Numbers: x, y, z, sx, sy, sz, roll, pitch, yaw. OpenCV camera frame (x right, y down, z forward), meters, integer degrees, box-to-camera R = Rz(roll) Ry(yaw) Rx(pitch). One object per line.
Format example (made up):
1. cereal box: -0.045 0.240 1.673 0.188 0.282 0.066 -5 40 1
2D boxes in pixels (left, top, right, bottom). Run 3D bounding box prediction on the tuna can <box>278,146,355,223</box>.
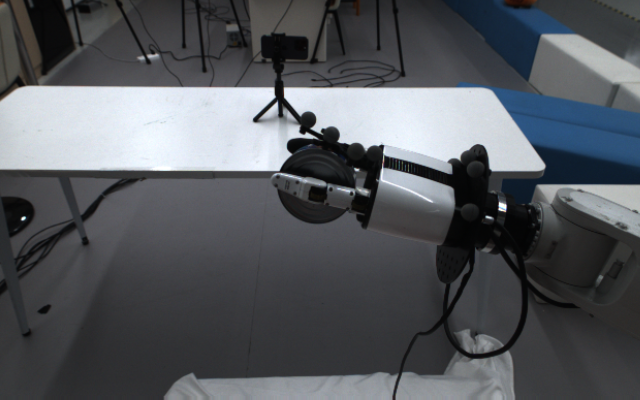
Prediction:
1. tuna can: 0.000 -0.020 0.539 0.085 0.085 0.034 7 16 6
